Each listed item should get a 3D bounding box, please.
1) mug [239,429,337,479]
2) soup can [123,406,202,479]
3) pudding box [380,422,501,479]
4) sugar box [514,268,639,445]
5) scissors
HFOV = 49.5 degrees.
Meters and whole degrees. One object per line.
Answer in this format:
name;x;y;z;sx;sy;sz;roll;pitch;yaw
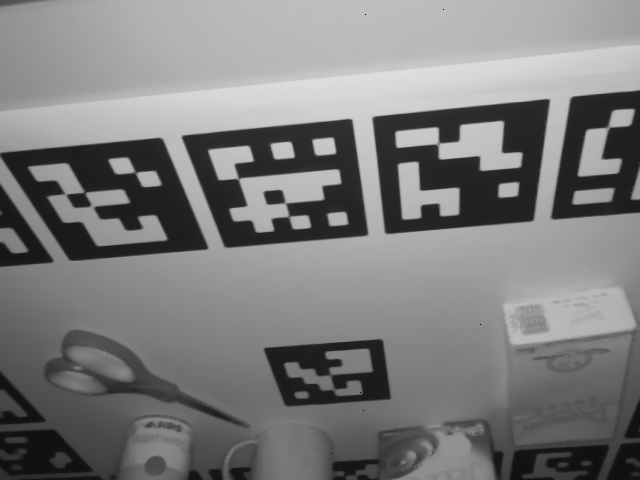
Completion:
mug;-0.032;0.238;0.683;0.092;0.082;0.118;-37;123;26
soup can;-0.152;0.221;0.665;0.068;0.103;0.067;0;133;1
pudding box;0.116;0.229;0.664;0.113;0.091;0.038;-12;124;12
sugar box;0.217;0.106;0.591;0.092;0.045;0.175;-9;130;6
scissors;-0.143;0.126;0.625;0.204;0.016;0.086;33;115;-24
